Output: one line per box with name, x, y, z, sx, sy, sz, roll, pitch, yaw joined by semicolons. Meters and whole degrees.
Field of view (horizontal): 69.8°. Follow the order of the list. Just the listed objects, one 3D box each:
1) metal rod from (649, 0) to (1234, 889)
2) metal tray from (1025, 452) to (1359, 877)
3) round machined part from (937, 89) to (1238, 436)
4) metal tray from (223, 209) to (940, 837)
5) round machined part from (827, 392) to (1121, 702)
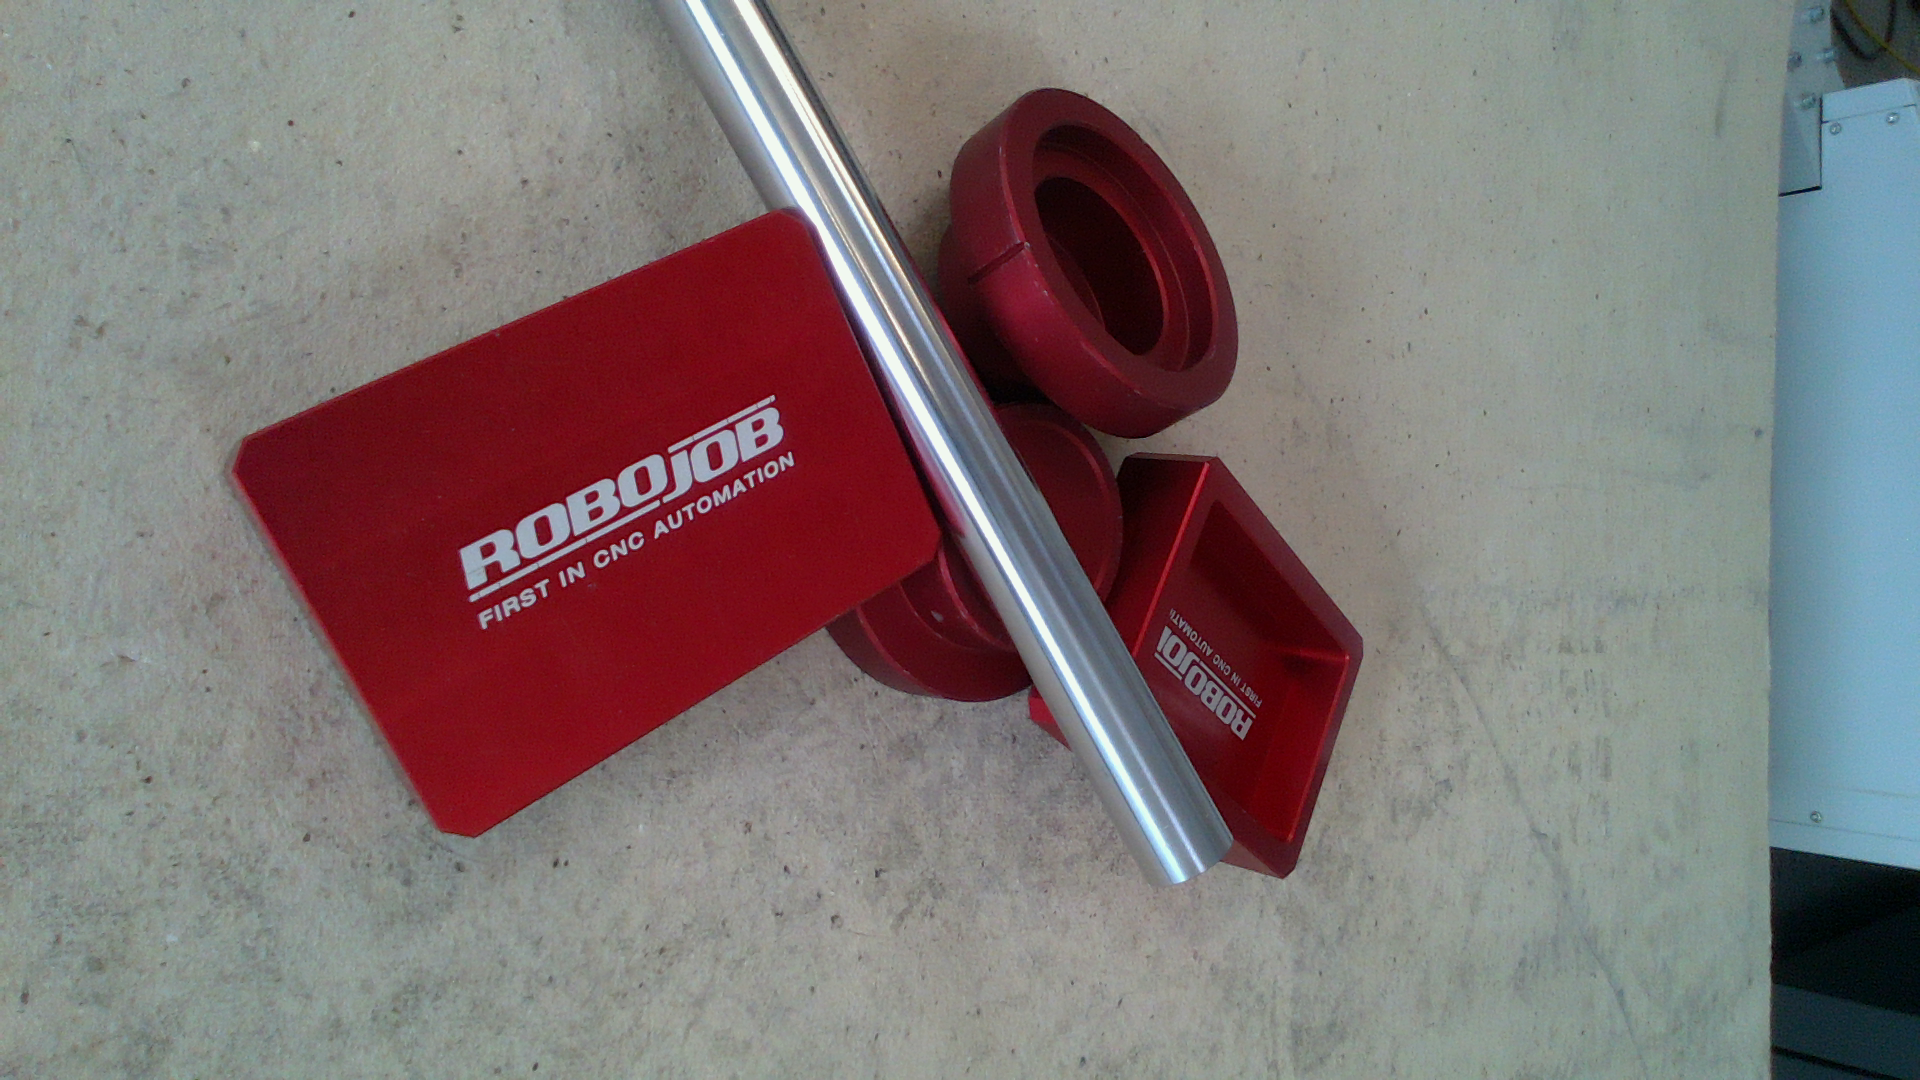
metal rod;-0.015;-0.049;0.333;0.025;0.025;0.300;-34;98;-35
metal tray;0.080;0.042;0.438;0.130;0.030;0.090;42;64;-43
round machined part;0.032;-0.073;0.391;0.098;0.042;0.098;25;52;-36
metal tray;-0.078;-0.008;0.307;0.130;0.030;0.090;-31;107;-26
round machined part;0.007;-0.004;0.384;0.098;0.042;0.098;0;90;-40
